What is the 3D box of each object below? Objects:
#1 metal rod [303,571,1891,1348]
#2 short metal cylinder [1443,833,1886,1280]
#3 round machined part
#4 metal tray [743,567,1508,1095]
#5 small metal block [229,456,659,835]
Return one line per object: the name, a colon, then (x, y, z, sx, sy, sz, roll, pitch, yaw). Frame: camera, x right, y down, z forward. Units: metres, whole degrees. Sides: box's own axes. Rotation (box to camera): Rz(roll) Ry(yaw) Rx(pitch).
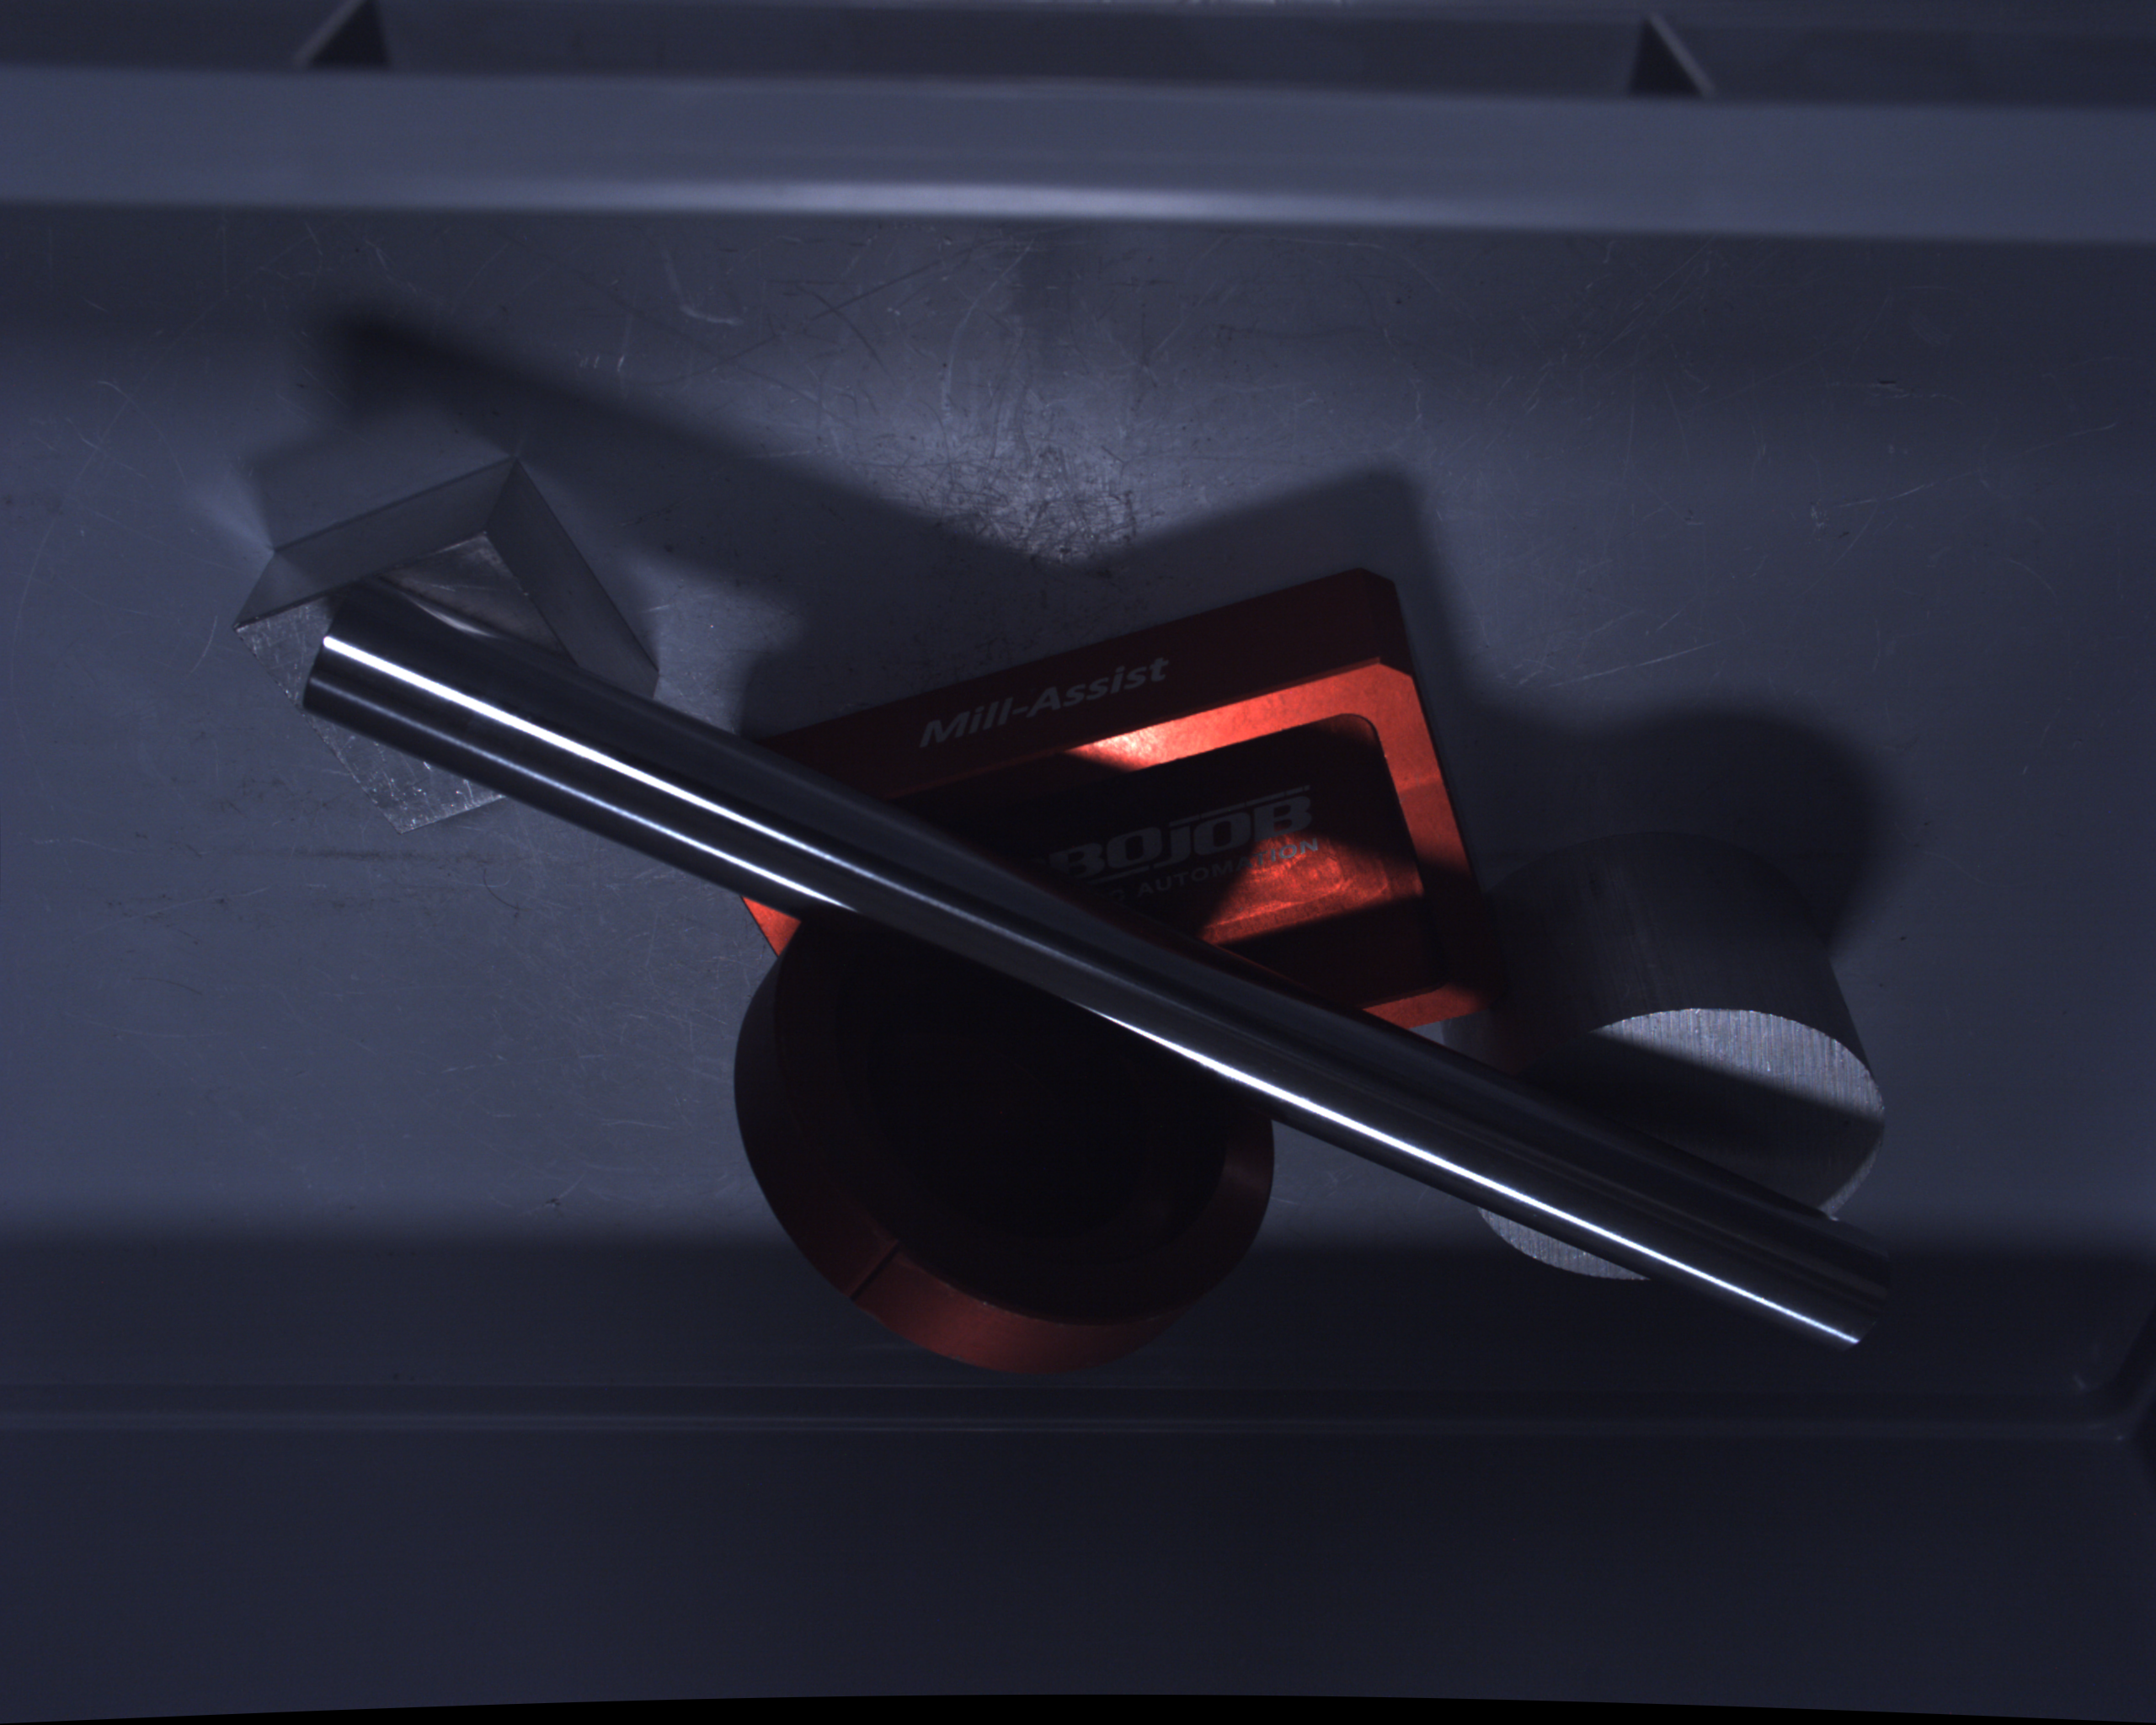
metal rod: (0.014, 0.023, 0.373, 0.302, 0.025, 0.025, 24, 126, -12)
short metal cylinder: (0.117, 0.040, 0.427, 0.081, 0.050, 0.079, 0, 130, 0)
round machined part: (-0.017, 0.049, 0.384, 0.099, 0.098, 0.042, 22, 134, -18)
metal tray: (0.009, 0.003, 0.406, 0.130, 0.030, 0.090, -15, 129, 12)
small metal block: (-0.111, -0.038, 0.373, 0.050, 0.025, 0.050, -17, 128, 13)
